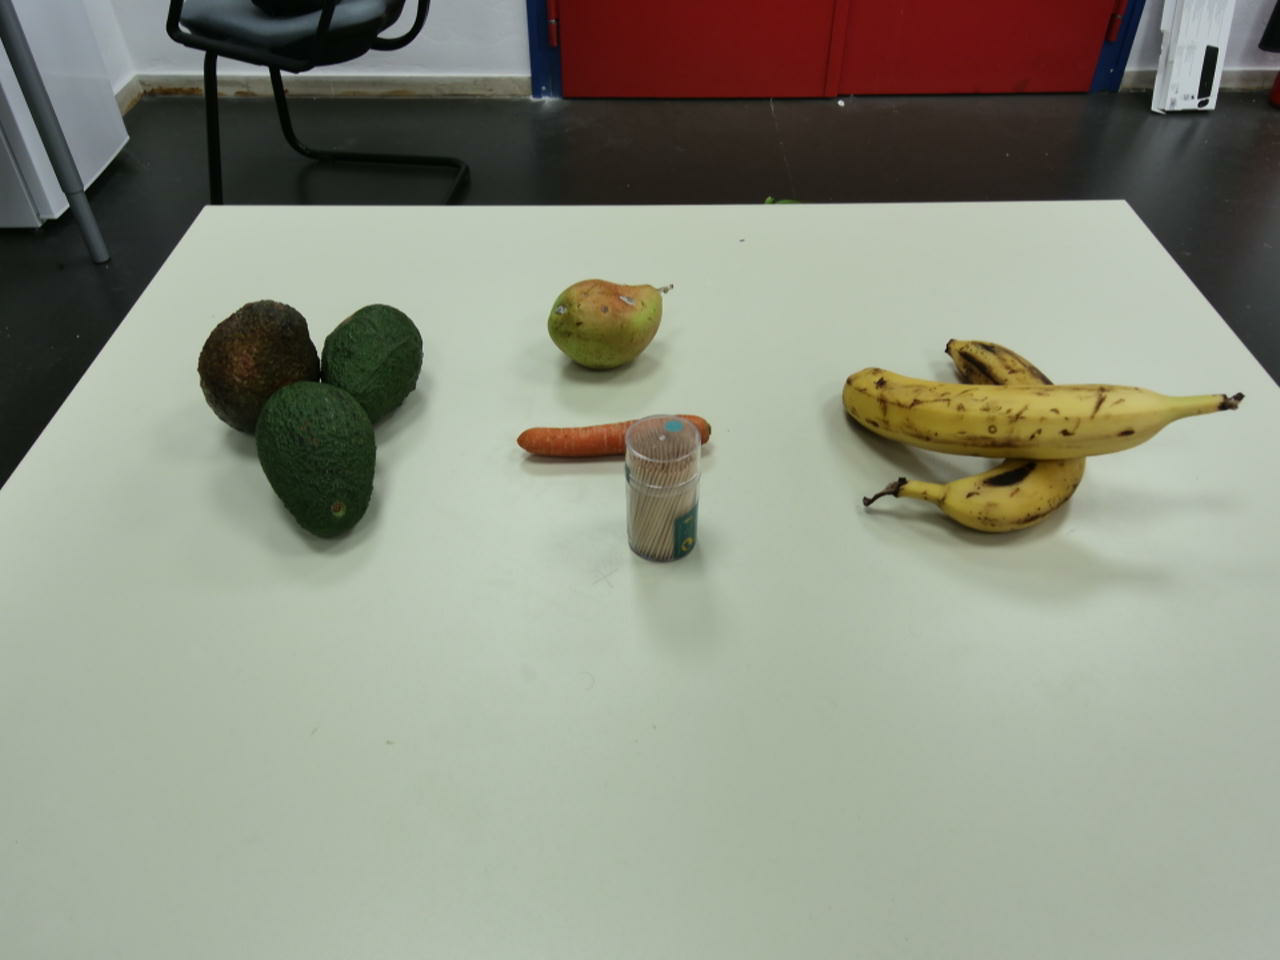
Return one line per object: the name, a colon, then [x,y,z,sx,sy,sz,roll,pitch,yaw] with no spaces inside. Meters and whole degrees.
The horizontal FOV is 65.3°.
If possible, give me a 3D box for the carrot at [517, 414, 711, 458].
carrot: [-0.016,-0.027,0.623,0.122,0.023,0.024,-2,39,-2]
